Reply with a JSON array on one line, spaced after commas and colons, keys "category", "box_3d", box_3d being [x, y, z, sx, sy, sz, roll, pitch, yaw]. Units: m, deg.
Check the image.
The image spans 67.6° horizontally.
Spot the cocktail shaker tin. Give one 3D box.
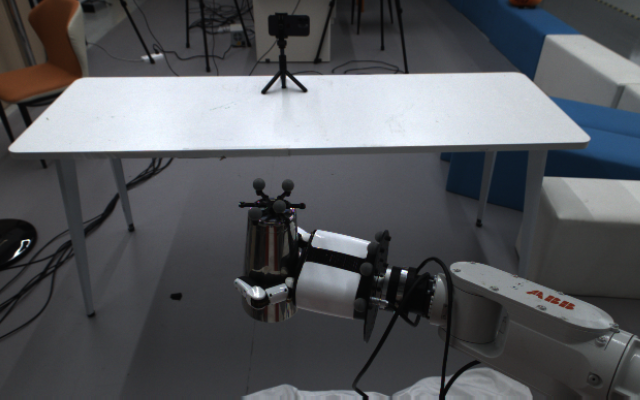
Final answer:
[{"category": "cocktail shaker tin", "box_3d": [-0.067, 0.084, 0.700, 0.093, 0.170, 0.093, 3, 34, -2]}]
